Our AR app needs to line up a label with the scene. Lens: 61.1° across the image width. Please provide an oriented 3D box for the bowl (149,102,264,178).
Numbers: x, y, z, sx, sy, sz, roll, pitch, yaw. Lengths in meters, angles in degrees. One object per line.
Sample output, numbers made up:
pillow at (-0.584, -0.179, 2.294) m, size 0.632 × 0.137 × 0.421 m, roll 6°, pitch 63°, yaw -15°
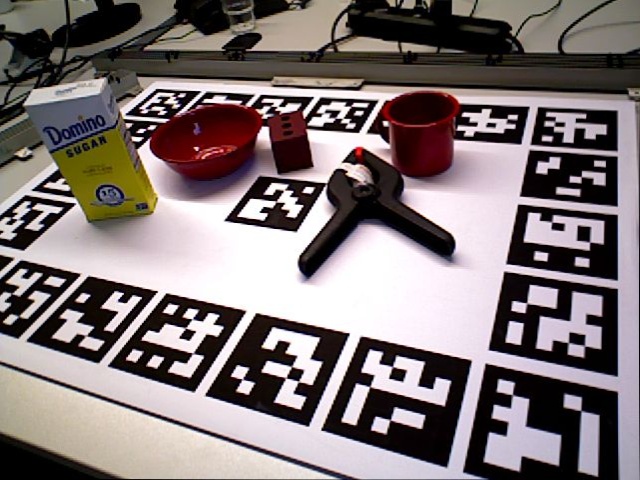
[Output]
bowl at (-0.153, -0.136, 0.764) m, size 0.161 × 0.056 × 0.159 m, roll -6°, pitch 43°, yaw 5°

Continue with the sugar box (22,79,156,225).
sugar box at (-0.276, -0.102, 0.666) m, size 0.092 × 0.180 × 0.044 m, roll -8°, pitch 44°, yaw 2°

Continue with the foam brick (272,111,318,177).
foam brick at (-0.035, -0.132, 0.744) m, size 0.052 × 0.052 × 0.077 m, roll -11°, pitch 43°, yaw 2°

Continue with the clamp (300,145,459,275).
clamp at (0.056, -0.049, 0.626) m, size 0.165 × 0.037 × 0.199 m, roll -10°, pitch 43°, yaw 6°

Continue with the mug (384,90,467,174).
mug at (0.128, -0.143, 0.682) m, size 0.091 × 0.083 × 0.117 m, roll -37°, pitch 51°, yaw -26°
